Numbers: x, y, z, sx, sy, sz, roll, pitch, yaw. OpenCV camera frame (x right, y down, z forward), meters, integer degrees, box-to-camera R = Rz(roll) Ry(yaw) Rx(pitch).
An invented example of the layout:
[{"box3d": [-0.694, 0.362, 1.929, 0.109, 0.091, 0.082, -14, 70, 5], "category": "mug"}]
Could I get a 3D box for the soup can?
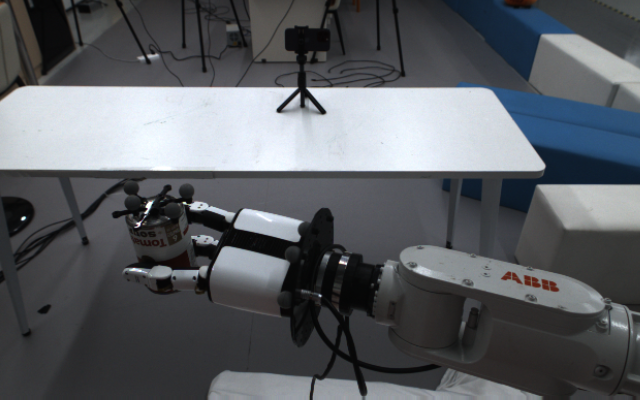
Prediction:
[{"box3d": [-0.186, 0.055, 0.584, 0.067, 0.101, 0.067, -2, 33, 1], "category": "soup can"}]
